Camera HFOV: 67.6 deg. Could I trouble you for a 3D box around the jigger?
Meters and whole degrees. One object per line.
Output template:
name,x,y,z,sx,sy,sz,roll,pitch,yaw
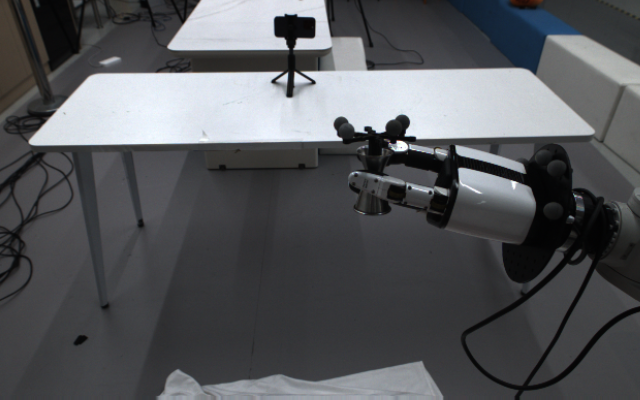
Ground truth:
jigger,0.060,-0.021,0.548,0.043,0.071,0.043,0,21,0
